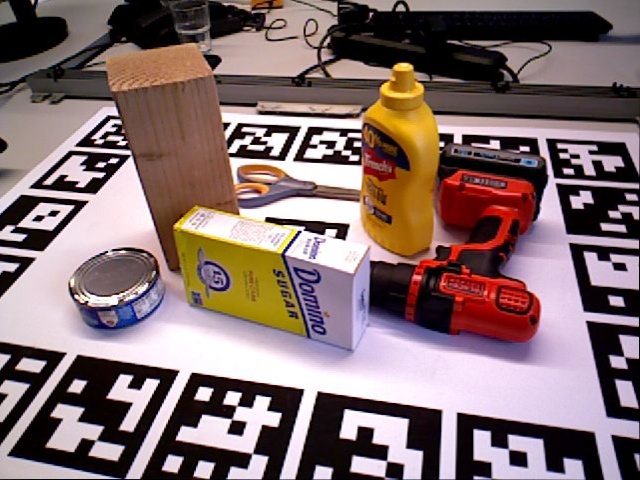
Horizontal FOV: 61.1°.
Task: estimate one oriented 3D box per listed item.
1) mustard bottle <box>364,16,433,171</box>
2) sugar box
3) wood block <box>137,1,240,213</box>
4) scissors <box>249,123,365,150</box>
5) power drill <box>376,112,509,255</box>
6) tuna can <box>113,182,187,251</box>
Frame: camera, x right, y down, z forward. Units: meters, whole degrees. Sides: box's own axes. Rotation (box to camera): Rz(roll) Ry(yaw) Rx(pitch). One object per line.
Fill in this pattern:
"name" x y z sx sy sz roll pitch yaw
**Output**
"mustard bottle" 0.087 -0.150 0.613 0.057 0.195 0.096 -23 45 -19
"sugar box" -0.030 -0.037 0.562 0.177 0.095 0.044 14 41 19
"wood block" -0.135 -0.149 0.627 0.090 0.210 0.089 -14 42 -11
"scissors" -0.032 -0.140 0.738 0.203 0.016 0.086 6 38 14
"power drill" 0.127 -0.069 0.605 0.185 0.058 0.183 14 51 22
"tuna can" -0.192 -0.027 0.606 0.085 0.034 0.084 -3 42 2
